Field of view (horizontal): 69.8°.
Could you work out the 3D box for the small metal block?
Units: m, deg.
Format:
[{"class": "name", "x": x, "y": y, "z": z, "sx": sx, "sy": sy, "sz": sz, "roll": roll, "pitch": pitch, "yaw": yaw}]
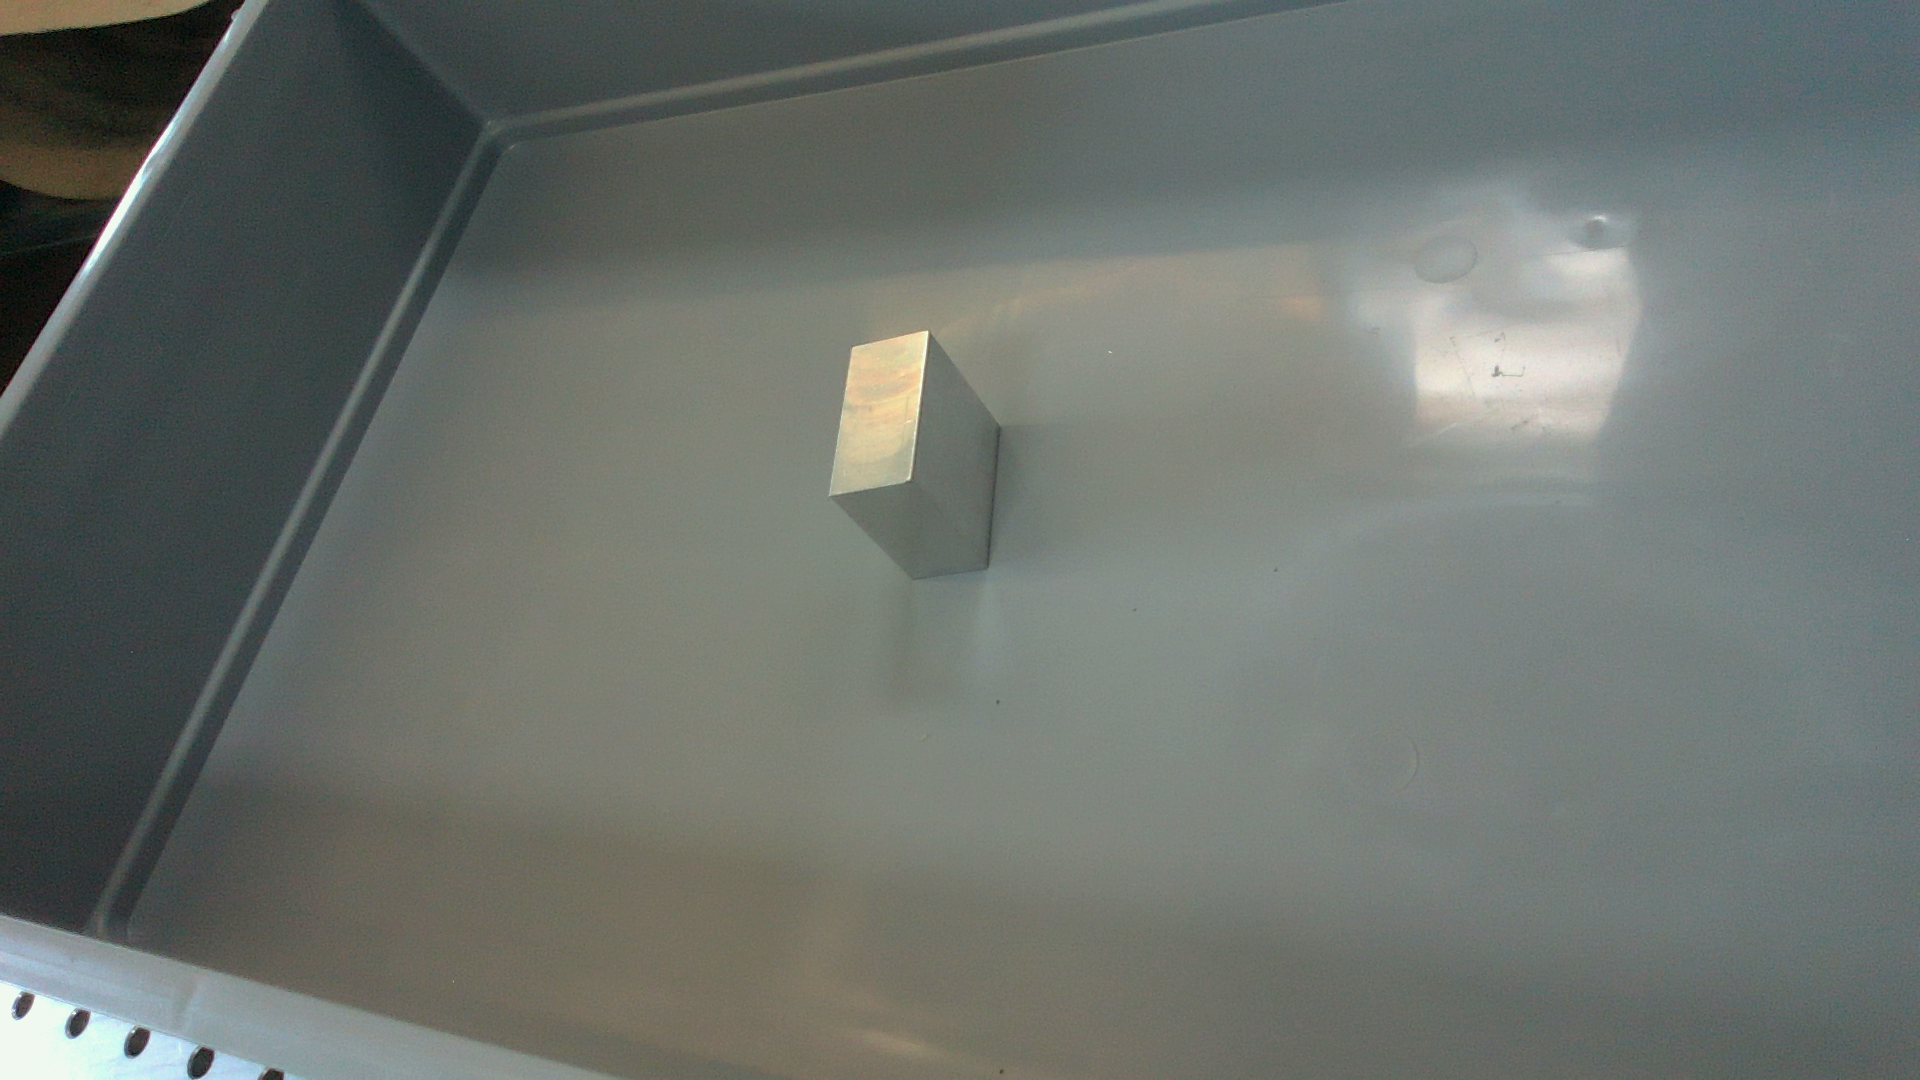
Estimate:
[{"class": "small metal block", "x": -0.012, "y": -0.024, "z": 0.394, "sx": 0.025, "sy": 0.050, "sz": 0.050, "roll": -9, "pitch": 57, "yaw": 24}]
